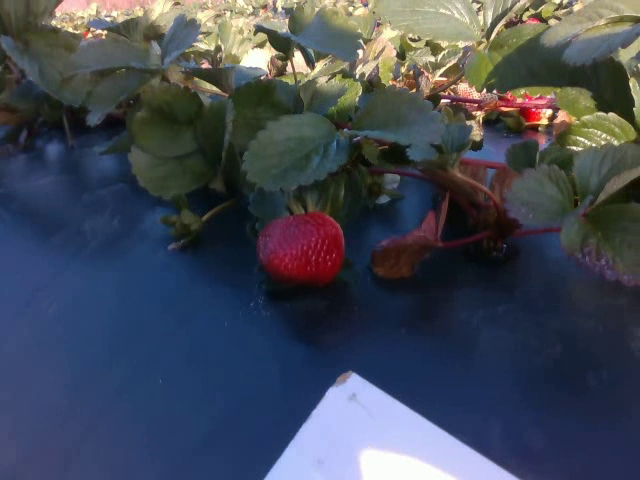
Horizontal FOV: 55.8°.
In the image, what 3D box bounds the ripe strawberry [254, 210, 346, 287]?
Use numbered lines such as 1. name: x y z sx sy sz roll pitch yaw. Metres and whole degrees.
1. ripe strawberry: -0.011 0.004 0.242 0.040 0.041 0.056 -28 1 18
